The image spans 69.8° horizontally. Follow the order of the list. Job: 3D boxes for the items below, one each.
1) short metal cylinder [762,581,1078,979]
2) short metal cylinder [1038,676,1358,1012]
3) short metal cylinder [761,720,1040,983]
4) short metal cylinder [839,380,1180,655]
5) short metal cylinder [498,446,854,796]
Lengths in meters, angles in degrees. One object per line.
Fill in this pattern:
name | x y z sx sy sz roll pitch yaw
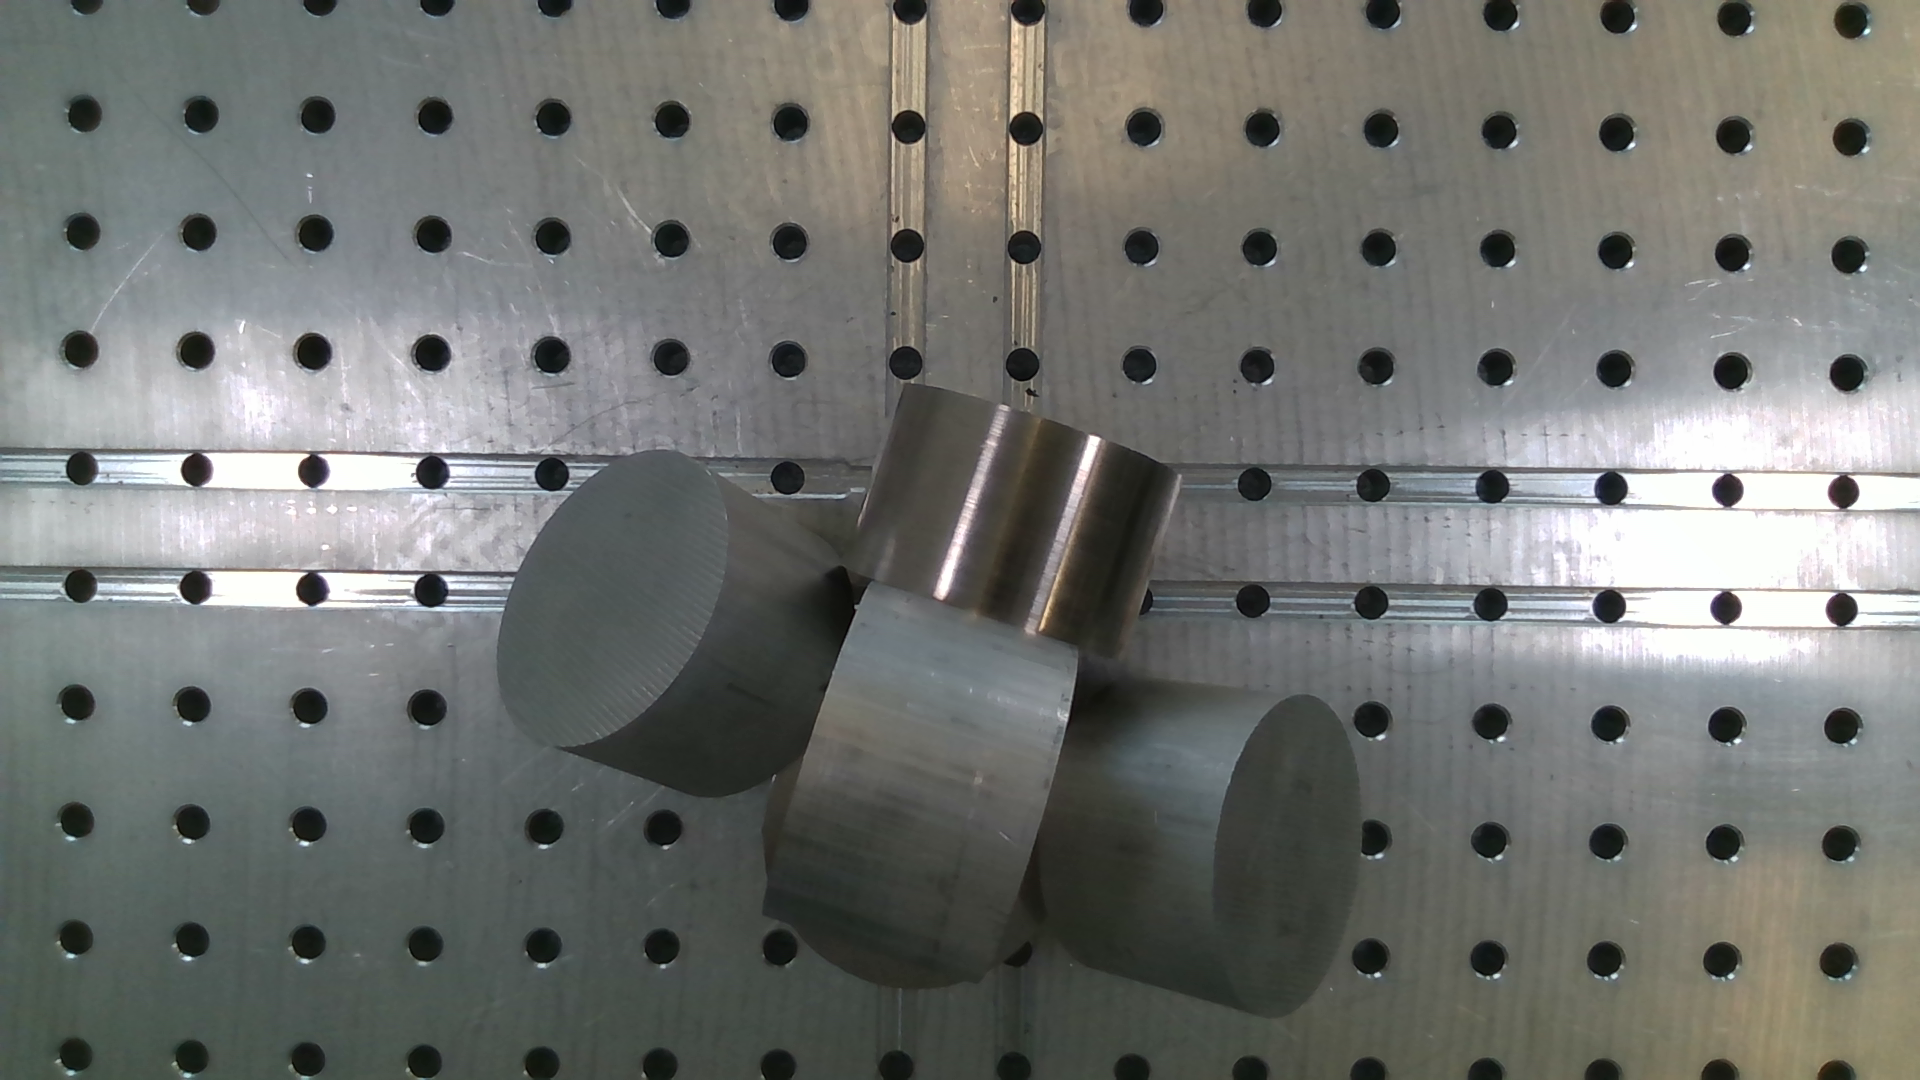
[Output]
short metal cylinder | -0.009 0.055 0.319 0.050 0.080 0.080 17 90 0
short metal cylinder | 0.064 0.077 0.363 0.050 0.080 0.080 2 90 40
short metal cylinder | -0.012 0.076 0.384 0.080 0.050 0.080 0 90 -1
short metal cylinder | 0.014 -0.006 0.370 0.080 0.080 0.050 19 90 0
short metal cylinder | -0.075 0.022 0.364 0.080 0.050 0.080 -17 58 29
